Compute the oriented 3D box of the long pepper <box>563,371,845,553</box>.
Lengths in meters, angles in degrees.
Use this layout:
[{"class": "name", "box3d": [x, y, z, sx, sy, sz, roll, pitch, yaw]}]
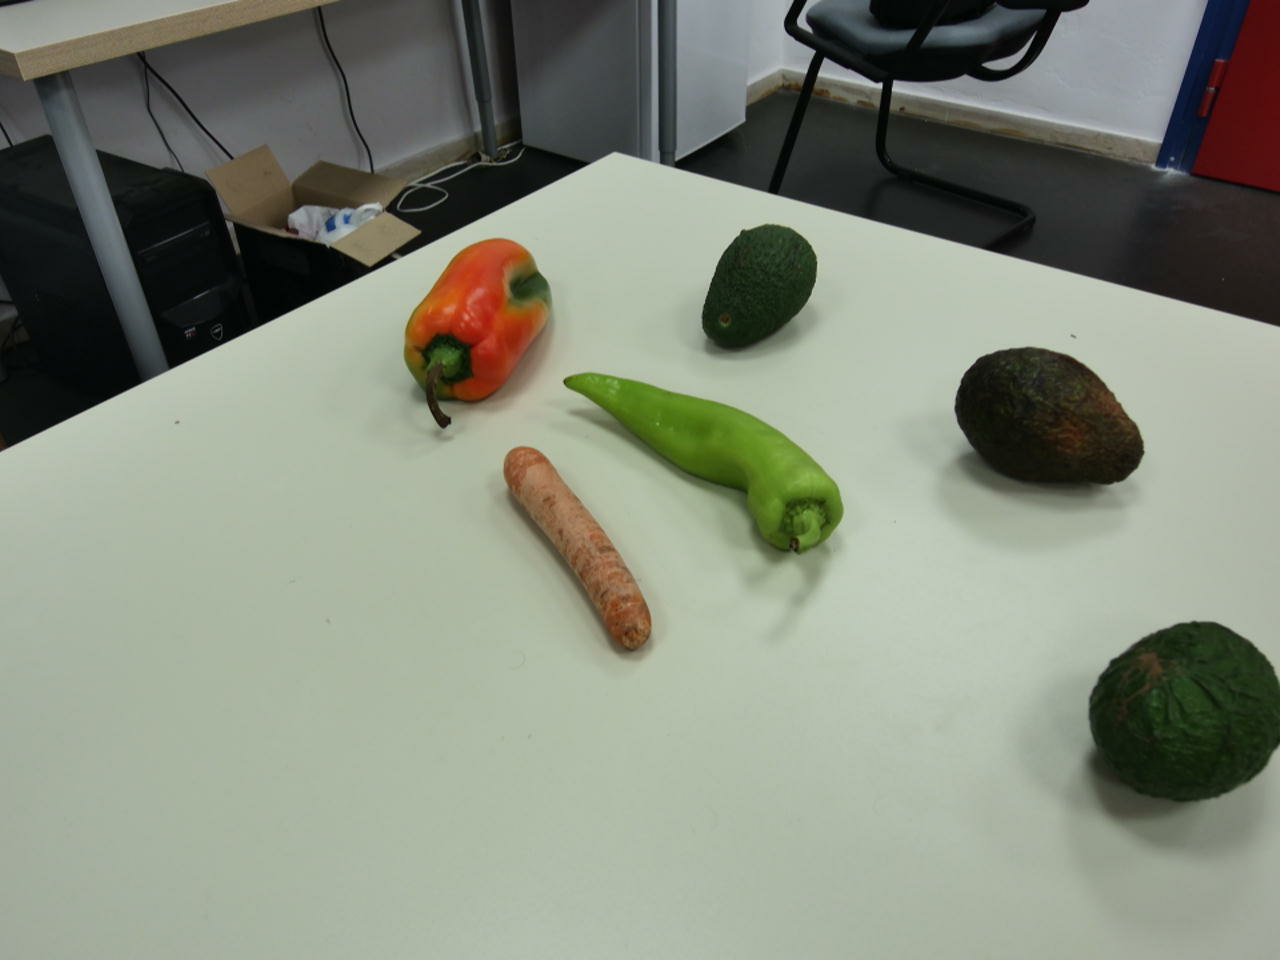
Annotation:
[{"class": "long pepper", "box3d": [0.038, -0.020, 0.553, 0.065, 0.045, 0.204, -23, 43, -28]}]
